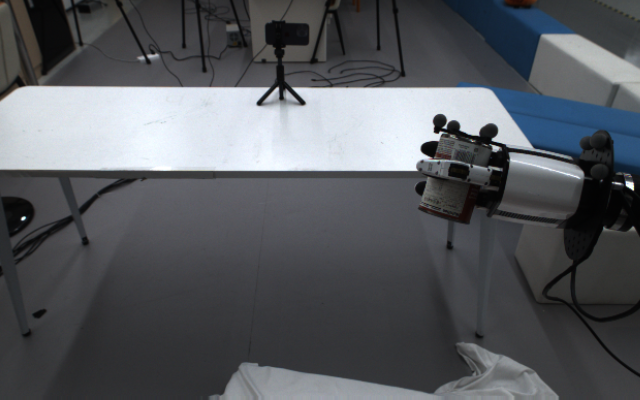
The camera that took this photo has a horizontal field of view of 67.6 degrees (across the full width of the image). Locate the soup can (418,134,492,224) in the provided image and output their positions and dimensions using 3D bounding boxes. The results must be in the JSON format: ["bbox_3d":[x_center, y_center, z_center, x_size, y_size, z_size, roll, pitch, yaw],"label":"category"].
[{"bbox_3d":[0.174,-0.028,0.622,0.067,0.101,0.067,15,7,-2],"label":"soup can"}]
